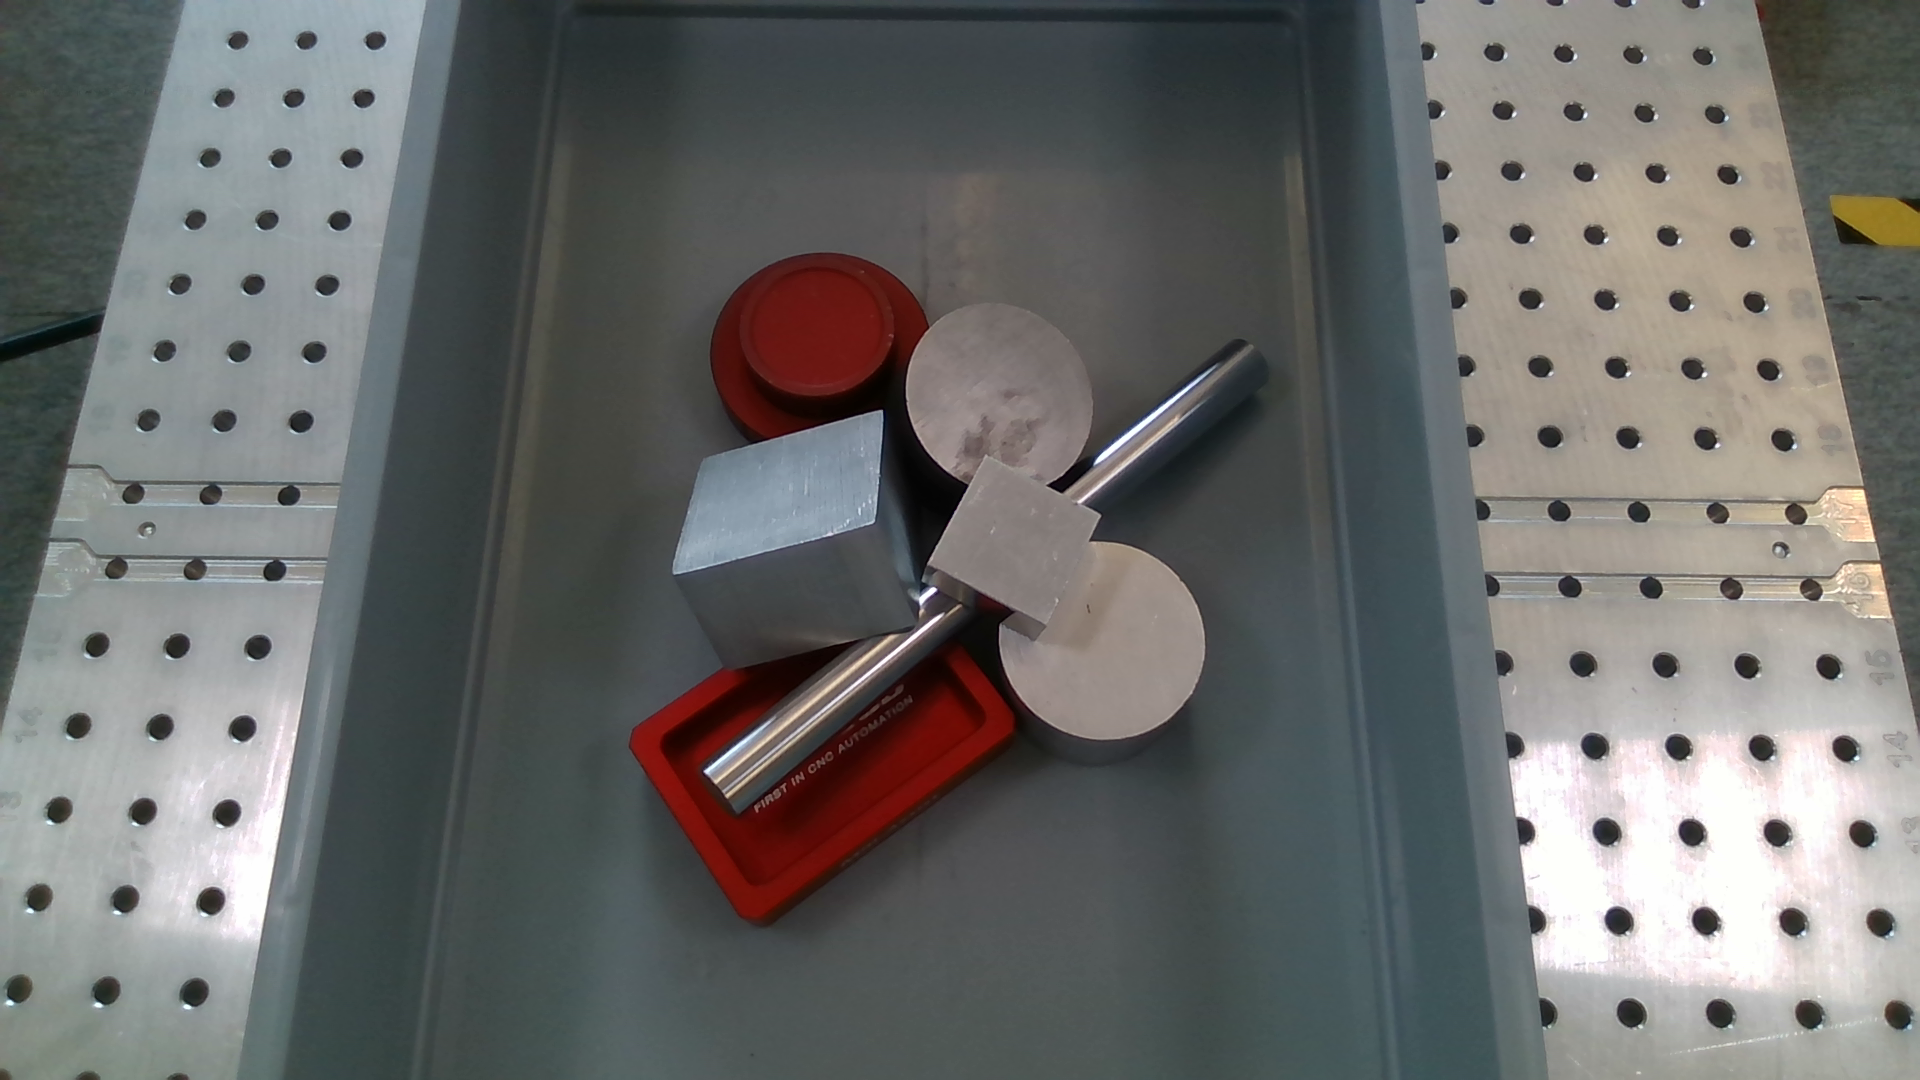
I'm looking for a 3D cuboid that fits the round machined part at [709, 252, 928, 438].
[{"bbox_3d":[-0.062,-0.085,0.608,0.098,0.042,0.098,0,70,0],"label":"round machined part"}]

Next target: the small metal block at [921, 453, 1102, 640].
[{"bbox_3d":[0.019,0.003,0.530,0.050,0.025,0.050,27,72,1],"label":"small metal block"}]

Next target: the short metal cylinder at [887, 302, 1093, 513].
[{"bbox_3d":[0.010,-0.054,0.581,0.080,0.050,0.080,3,78,-16],"label":"short metal cylinder"}]

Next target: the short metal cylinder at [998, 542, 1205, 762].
[{"bbox_3d":[0.055,0.047,0.558,0.080,0.050,0.080,0,70,0],"label":"short metal cylinder"}]

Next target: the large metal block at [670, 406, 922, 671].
[{"bbox_3d":[-0.062,-0.002,0.546,0.080,0.050,0.080,-14,36,10],"label":"large metal block"}]

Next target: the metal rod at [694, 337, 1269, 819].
[{"bbox_3d":[0.020,0.006,0.559,0.300,0.025,0.025,-38,74,-22],"label":"metal rod"}]

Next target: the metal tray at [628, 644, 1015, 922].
[{"bbox_3d":[-0.054,0.080,0.556,0.130,0.030,0.090,-35,74,-12],"label":"metal tray"}]
